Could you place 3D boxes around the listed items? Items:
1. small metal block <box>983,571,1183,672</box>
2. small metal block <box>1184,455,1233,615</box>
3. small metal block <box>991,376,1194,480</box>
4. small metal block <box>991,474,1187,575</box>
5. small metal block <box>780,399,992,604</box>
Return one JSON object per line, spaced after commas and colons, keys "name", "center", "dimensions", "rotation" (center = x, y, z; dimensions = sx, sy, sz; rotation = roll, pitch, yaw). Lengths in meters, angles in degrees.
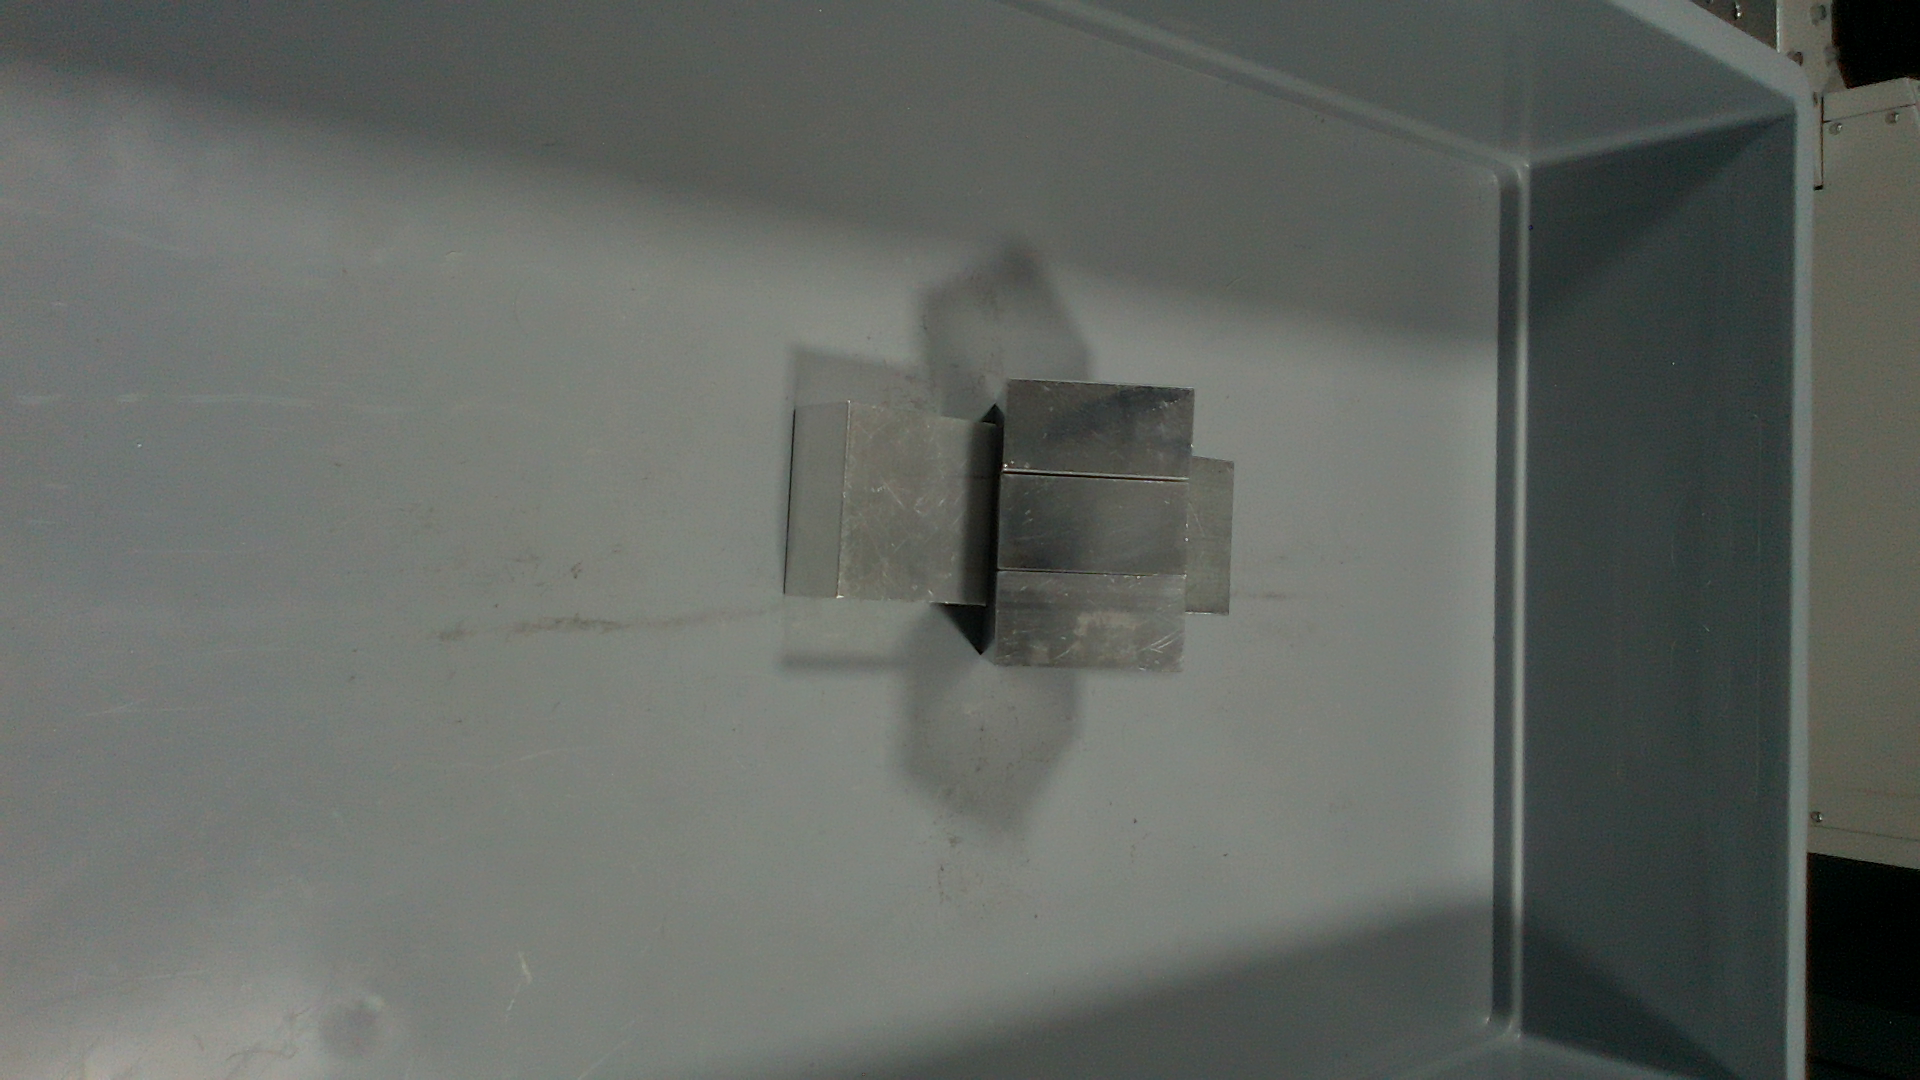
{"name": "small metal block", "center": [0.032, 0.022, 0.385], "dimensions": [0.050, 0.050, 0.025], "rotation": [2, 88, -3]}
{"name": "small metal block", "center": [0.060, -0.002, 0.438], "dimensions": [0.050, 0.025, 0.050], "rotation": [4, 87, -40]}
{"name": "small metal block", "center": [0.035, -0.029, 0.387], "dimensions": [0.050, 0.050, 0.025], "rotation": [2, 87, -3]}
{"name": "small metal block", "center": [0.033, -0.003, 0.386], "dimensions": [0.050, 0.050, 0.025], "rotation": [2, 88, -3]}
{"name": "small metal block", "center": [-0.019, -0.009, 0.371], "dimensions": [0.050, 0.025, 0.050], "rotation": [5, 87, -40]}
